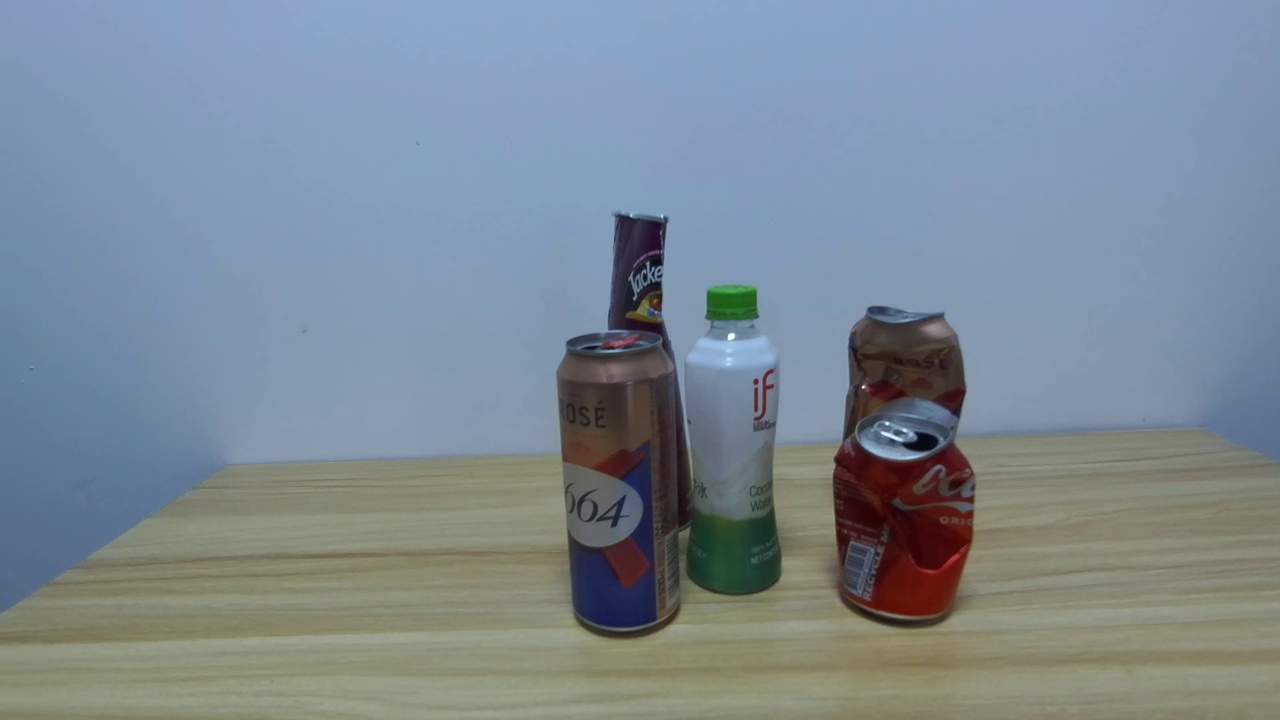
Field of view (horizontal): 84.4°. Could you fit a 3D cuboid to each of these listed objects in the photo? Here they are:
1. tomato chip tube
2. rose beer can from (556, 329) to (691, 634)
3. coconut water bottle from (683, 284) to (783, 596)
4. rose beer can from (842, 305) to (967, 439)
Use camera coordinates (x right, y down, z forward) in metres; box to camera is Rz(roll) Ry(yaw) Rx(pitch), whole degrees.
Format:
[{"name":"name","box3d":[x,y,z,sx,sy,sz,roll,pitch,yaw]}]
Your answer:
[{"name":"tomato chip tube","box3d":[0.004,0.008,0.524,0.077,0.235,0.090,4,13,25]},{"name":"rose beer can","box3d":[-0.011,0.072,0.416,0.068,0.169,0.068,-2,15,1]},{"name":"coconut water bottle","box3d":[0.058,0.049,0.448,0.063,0.188,0.063,-2,13,1]},{"name":"rose beer can","box3d":[0.186,0.044,0.505,0.073,0.162,0.068,2,11,6]}]
